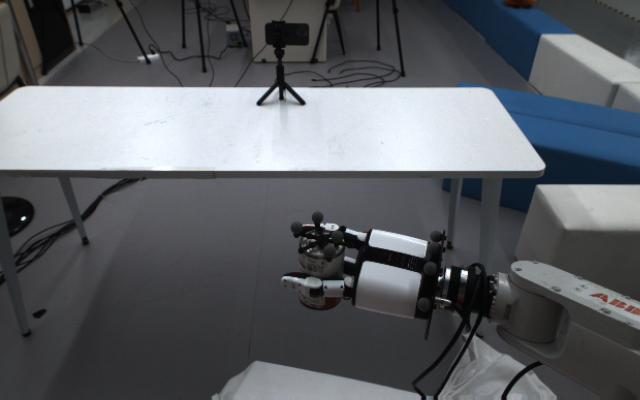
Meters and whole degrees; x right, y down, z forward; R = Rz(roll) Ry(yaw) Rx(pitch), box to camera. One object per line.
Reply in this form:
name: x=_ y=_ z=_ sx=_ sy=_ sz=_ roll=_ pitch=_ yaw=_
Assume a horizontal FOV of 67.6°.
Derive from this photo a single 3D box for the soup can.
soup can: x=0.002 y=0.103 z=0.712 sx=0.067 sy=0.101 sz=0.067 roll=2 pitch=32 yaw=-1
